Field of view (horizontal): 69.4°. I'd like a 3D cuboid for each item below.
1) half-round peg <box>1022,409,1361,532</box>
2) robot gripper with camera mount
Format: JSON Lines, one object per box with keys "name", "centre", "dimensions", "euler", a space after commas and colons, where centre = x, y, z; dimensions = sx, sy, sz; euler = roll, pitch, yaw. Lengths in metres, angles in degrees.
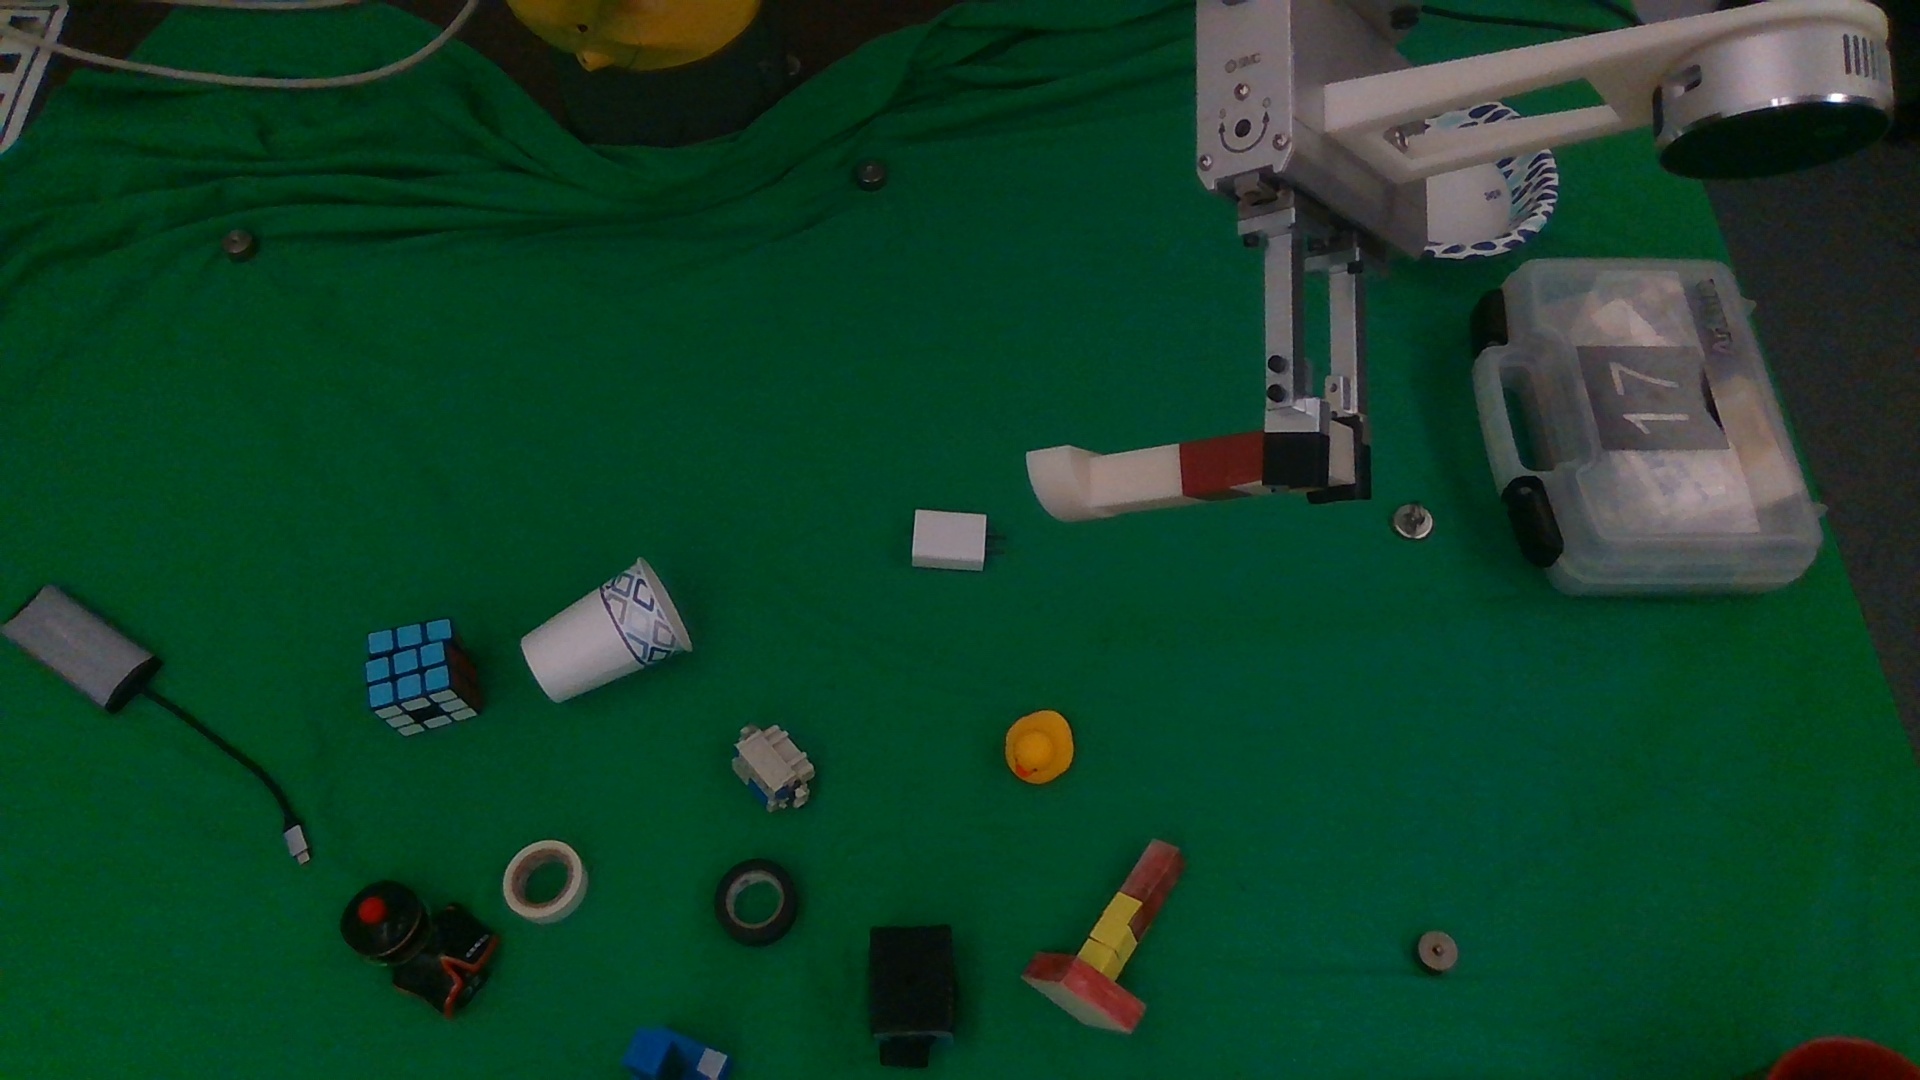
{"name": "half-round peg", "centre": [0.086, -0.026, 0.513], "dimensions": [0.122, 0.054, 0.031], "euler": [-10, 82, 38]}
{"name": "robot gripper with camera mount", "centre": [0.184, -0.100, 0.442], "dimensions": [0.194, 0.118, 0.158], "euler": [-7, 80, 40]}
